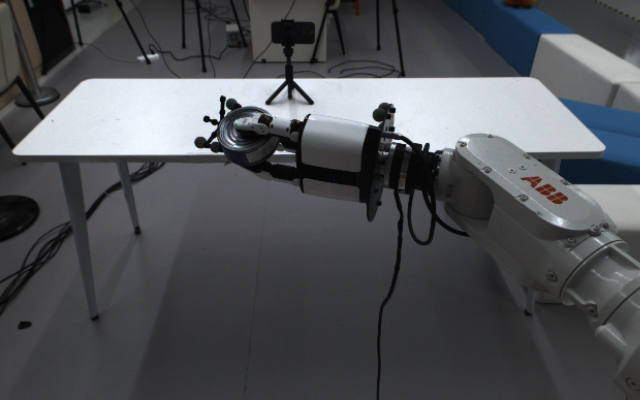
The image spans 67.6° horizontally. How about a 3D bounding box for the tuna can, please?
[{"bbox_3d":[-0.103,-0.095,0.698,0.085,0.034,0.085,-3,59,5],"label":"tuna can"}]
